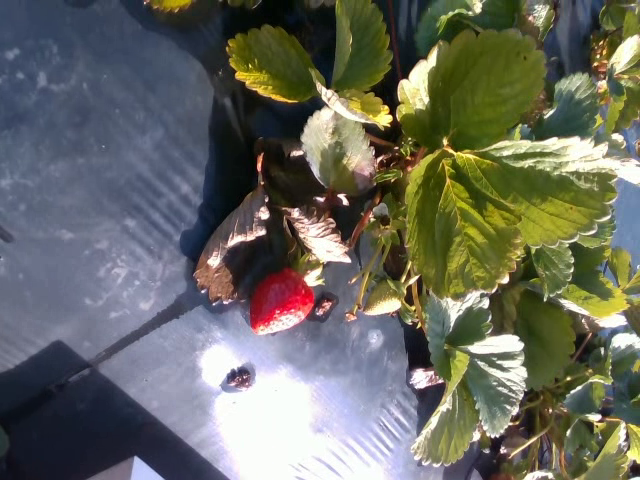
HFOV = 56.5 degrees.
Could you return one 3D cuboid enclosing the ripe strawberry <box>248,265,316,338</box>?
[{"bbox_3d":[-0.027,0.038,0.297,0.037,0.047,0.054,17,41,35],"label":"ripe strawberry"}]
